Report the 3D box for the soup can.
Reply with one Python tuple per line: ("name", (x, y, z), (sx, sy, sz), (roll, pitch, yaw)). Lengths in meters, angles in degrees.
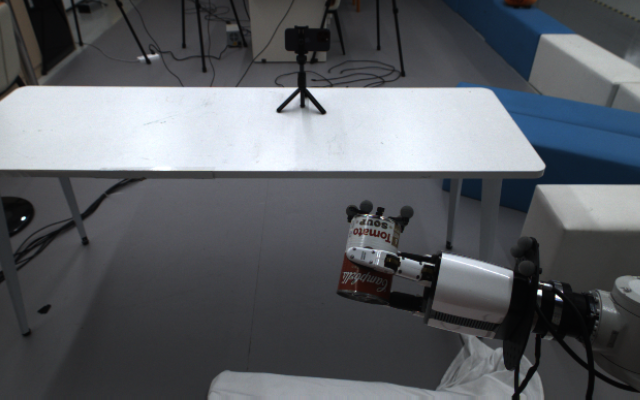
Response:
("soup can", (0.065, 0.075, 0.620), (0.067, 0.067, 0.101), (9, 72, 10))
